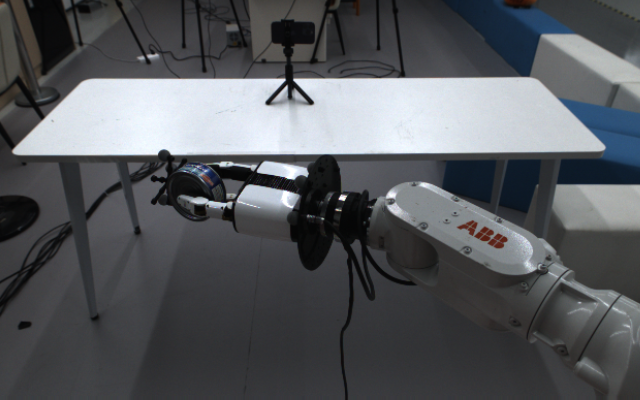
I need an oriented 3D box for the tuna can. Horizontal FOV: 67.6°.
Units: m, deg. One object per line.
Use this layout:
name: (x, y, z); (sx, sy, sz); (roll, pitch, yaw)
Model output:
tuna can: (-0.183, -0.013, 0.717); (0.085, 0.085, 0.034); (14, 32, 17)
